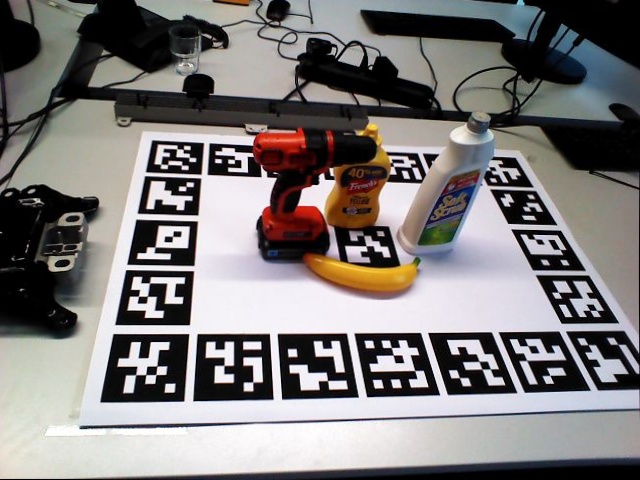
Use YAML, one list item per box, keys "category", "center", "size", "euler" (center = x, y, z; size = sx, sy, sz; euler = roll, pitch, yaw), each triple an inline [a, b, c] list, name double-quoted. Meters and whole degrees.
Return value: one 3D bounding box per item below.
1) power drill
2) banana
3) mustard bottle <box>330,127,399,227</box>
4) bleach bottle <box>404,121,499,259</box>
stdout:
- category: "power drill"
  center: [-0.013, -0.079, 0.782]
  size: [0.184, 0.188, 0.057]
  euler: [1, 40, -13]
- category: "banana"
  center: [0.087, 0.048, 0.809]
  size: [0.197, 0.039, 0.074]
  euler: [3, 50, -6]
- category: "mustard bottle"
  center: [0.079, -0.106, 0.853]
  size: [0.096, 0.192, 0.058]
  euler: [3, 46, -10]
- category: "bleach bottle"
  center: [0.216, -0.075, 0.819]
  size: [0.102, 0.252, 0.067]
  euler: [-5, 49, -15]
